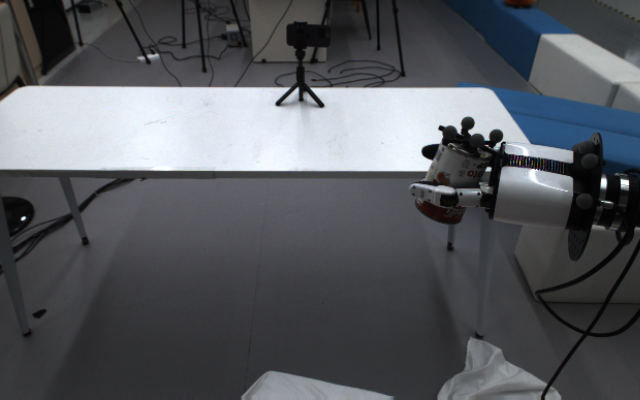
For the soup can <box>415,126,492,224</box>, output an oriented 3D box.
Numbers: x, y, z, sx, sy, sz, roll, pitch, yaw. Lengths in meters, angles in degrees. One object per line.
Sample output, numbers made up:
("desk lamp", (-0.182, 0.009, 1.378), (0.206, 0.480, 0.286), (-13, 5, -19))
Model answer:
("soup can", (0.176, -0.029, 0.640), (0.067, 0.101, 0.067), (13, 30, -8))
